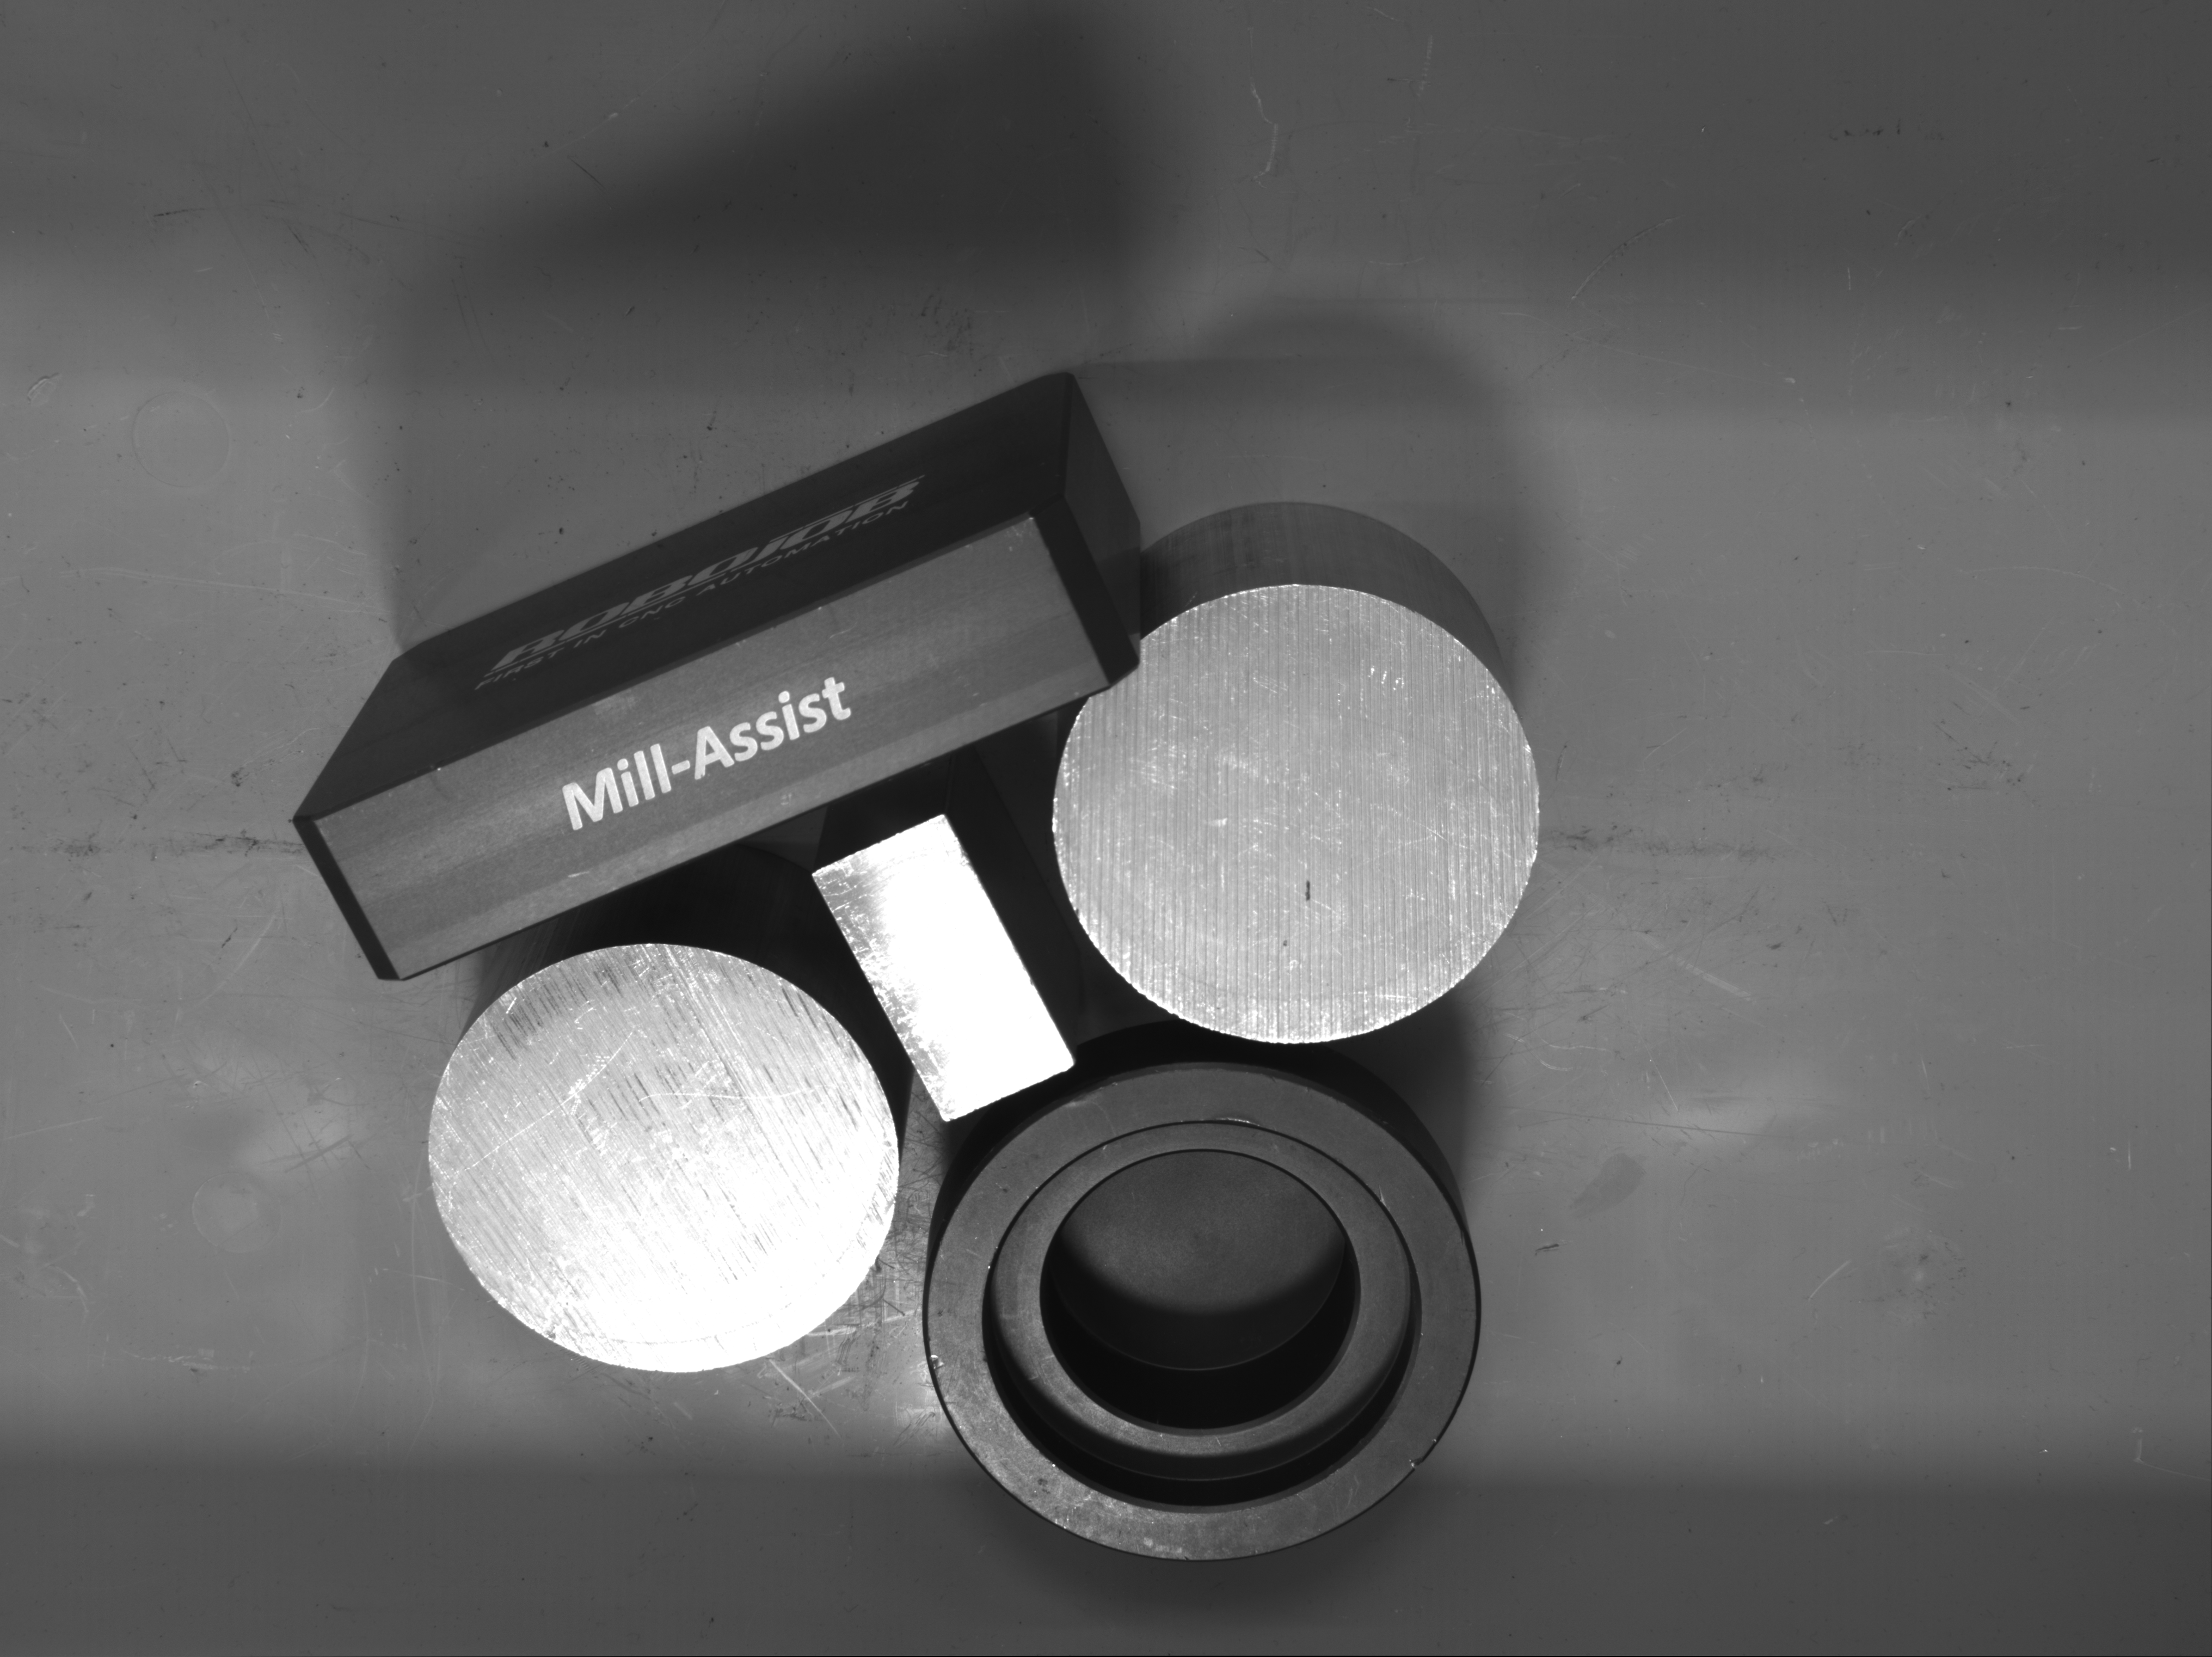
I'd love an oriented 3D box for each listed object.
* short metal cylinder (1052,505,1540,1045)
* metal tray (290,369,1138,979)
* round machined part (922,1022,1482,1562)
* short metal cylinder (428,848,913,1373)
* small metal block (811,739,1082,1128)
[{"bbox_3d":[0.031,-0.010,0.626,0.080,0.050,0.080,0,110,0],"label":"short metal cylinder"},{"bbox_3d":[-0.060,-0.027,0.597,0.130,0.090,0.030,-22,108,9],"label":"metal tray"},{"bbox_3d":[0.017,0.079,0.662,0.098,0.042,0.098,0,110,0],"label":"round machined part"},{"bbox_3d":[-0.075,0.048,0.647,0.080,0.050,0.080,0,110,0],"label":"short metal cylinder"},{"bbox_3d":[-0.027,0.016,0.634,0.025,0.050,0.050,-24,108,9],"label":"small metal block"}]
